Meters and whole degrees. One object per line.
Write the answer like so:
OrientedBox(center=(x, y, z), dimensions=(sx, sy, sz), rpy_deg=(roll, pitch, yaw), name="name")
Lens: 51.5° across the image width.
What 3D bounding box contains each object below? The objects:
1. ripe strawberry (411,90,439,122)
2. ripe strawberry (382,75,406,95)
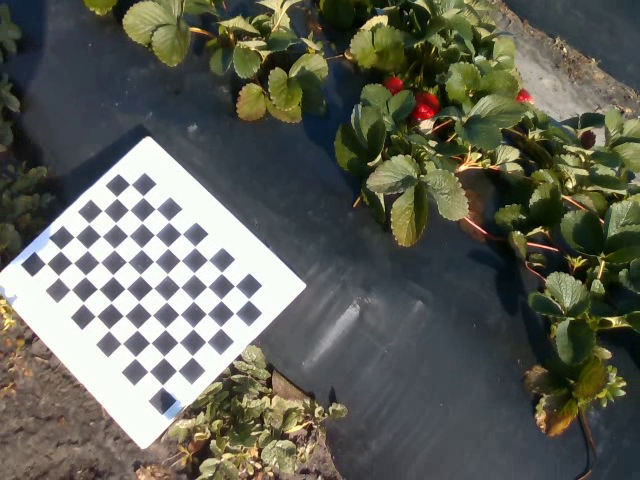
OrientedBox(center=(0.143, -0.198, 0.919), dimensions=(0.052, 0.046, 0.058), rpy_deg=(5, 26, 11), name="ripe strawberry")
OrientedBox(center=(0.096, -0.228, 0.925), dimensions=(0.043, 0.037, 0.052), rpy_deg=(-4, 27, 9), name="ripe strawberry")
